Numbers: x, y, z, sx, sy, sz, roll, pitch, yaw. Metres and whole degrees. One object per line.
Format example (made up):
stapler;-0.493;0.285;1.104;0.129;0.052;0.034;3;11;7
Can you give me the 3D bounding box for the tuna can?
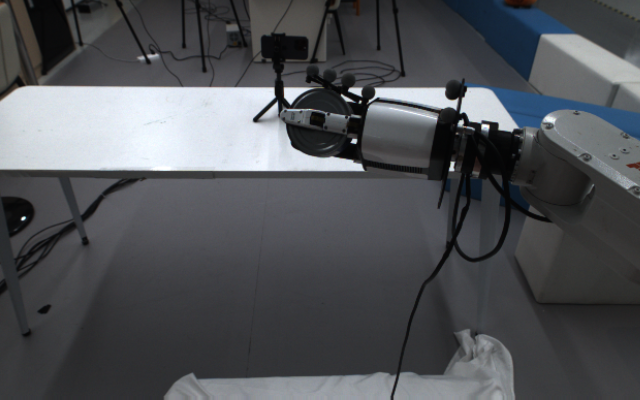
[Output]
tuna can;0.003;-0.099;0.622;0.085;0.085;0.034;13;3;15
